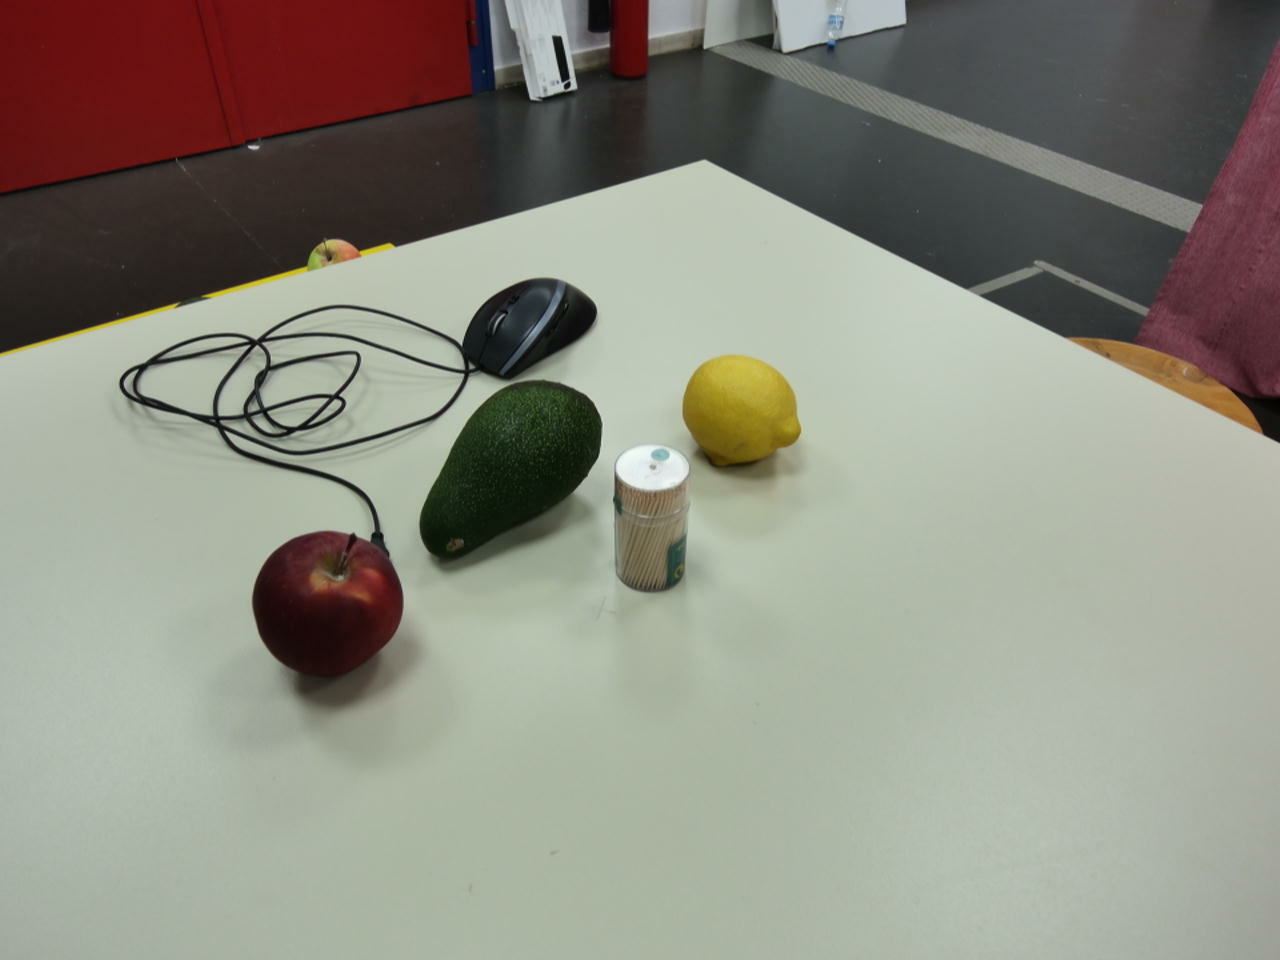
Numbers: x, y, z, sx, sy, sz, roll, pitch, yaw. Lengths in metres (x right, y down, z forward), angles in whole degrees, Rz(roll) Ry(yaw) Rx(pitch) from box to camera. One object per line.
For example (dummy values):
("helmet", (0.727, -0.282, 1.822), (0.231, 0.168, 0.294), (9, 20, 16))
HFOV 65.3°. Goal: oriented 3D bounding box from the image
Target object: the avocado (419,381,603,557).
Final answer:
("avocado", (-0.078, -0.014, 0.573), (0.123, 0.076, 0.074), (-19, 43, -24))
